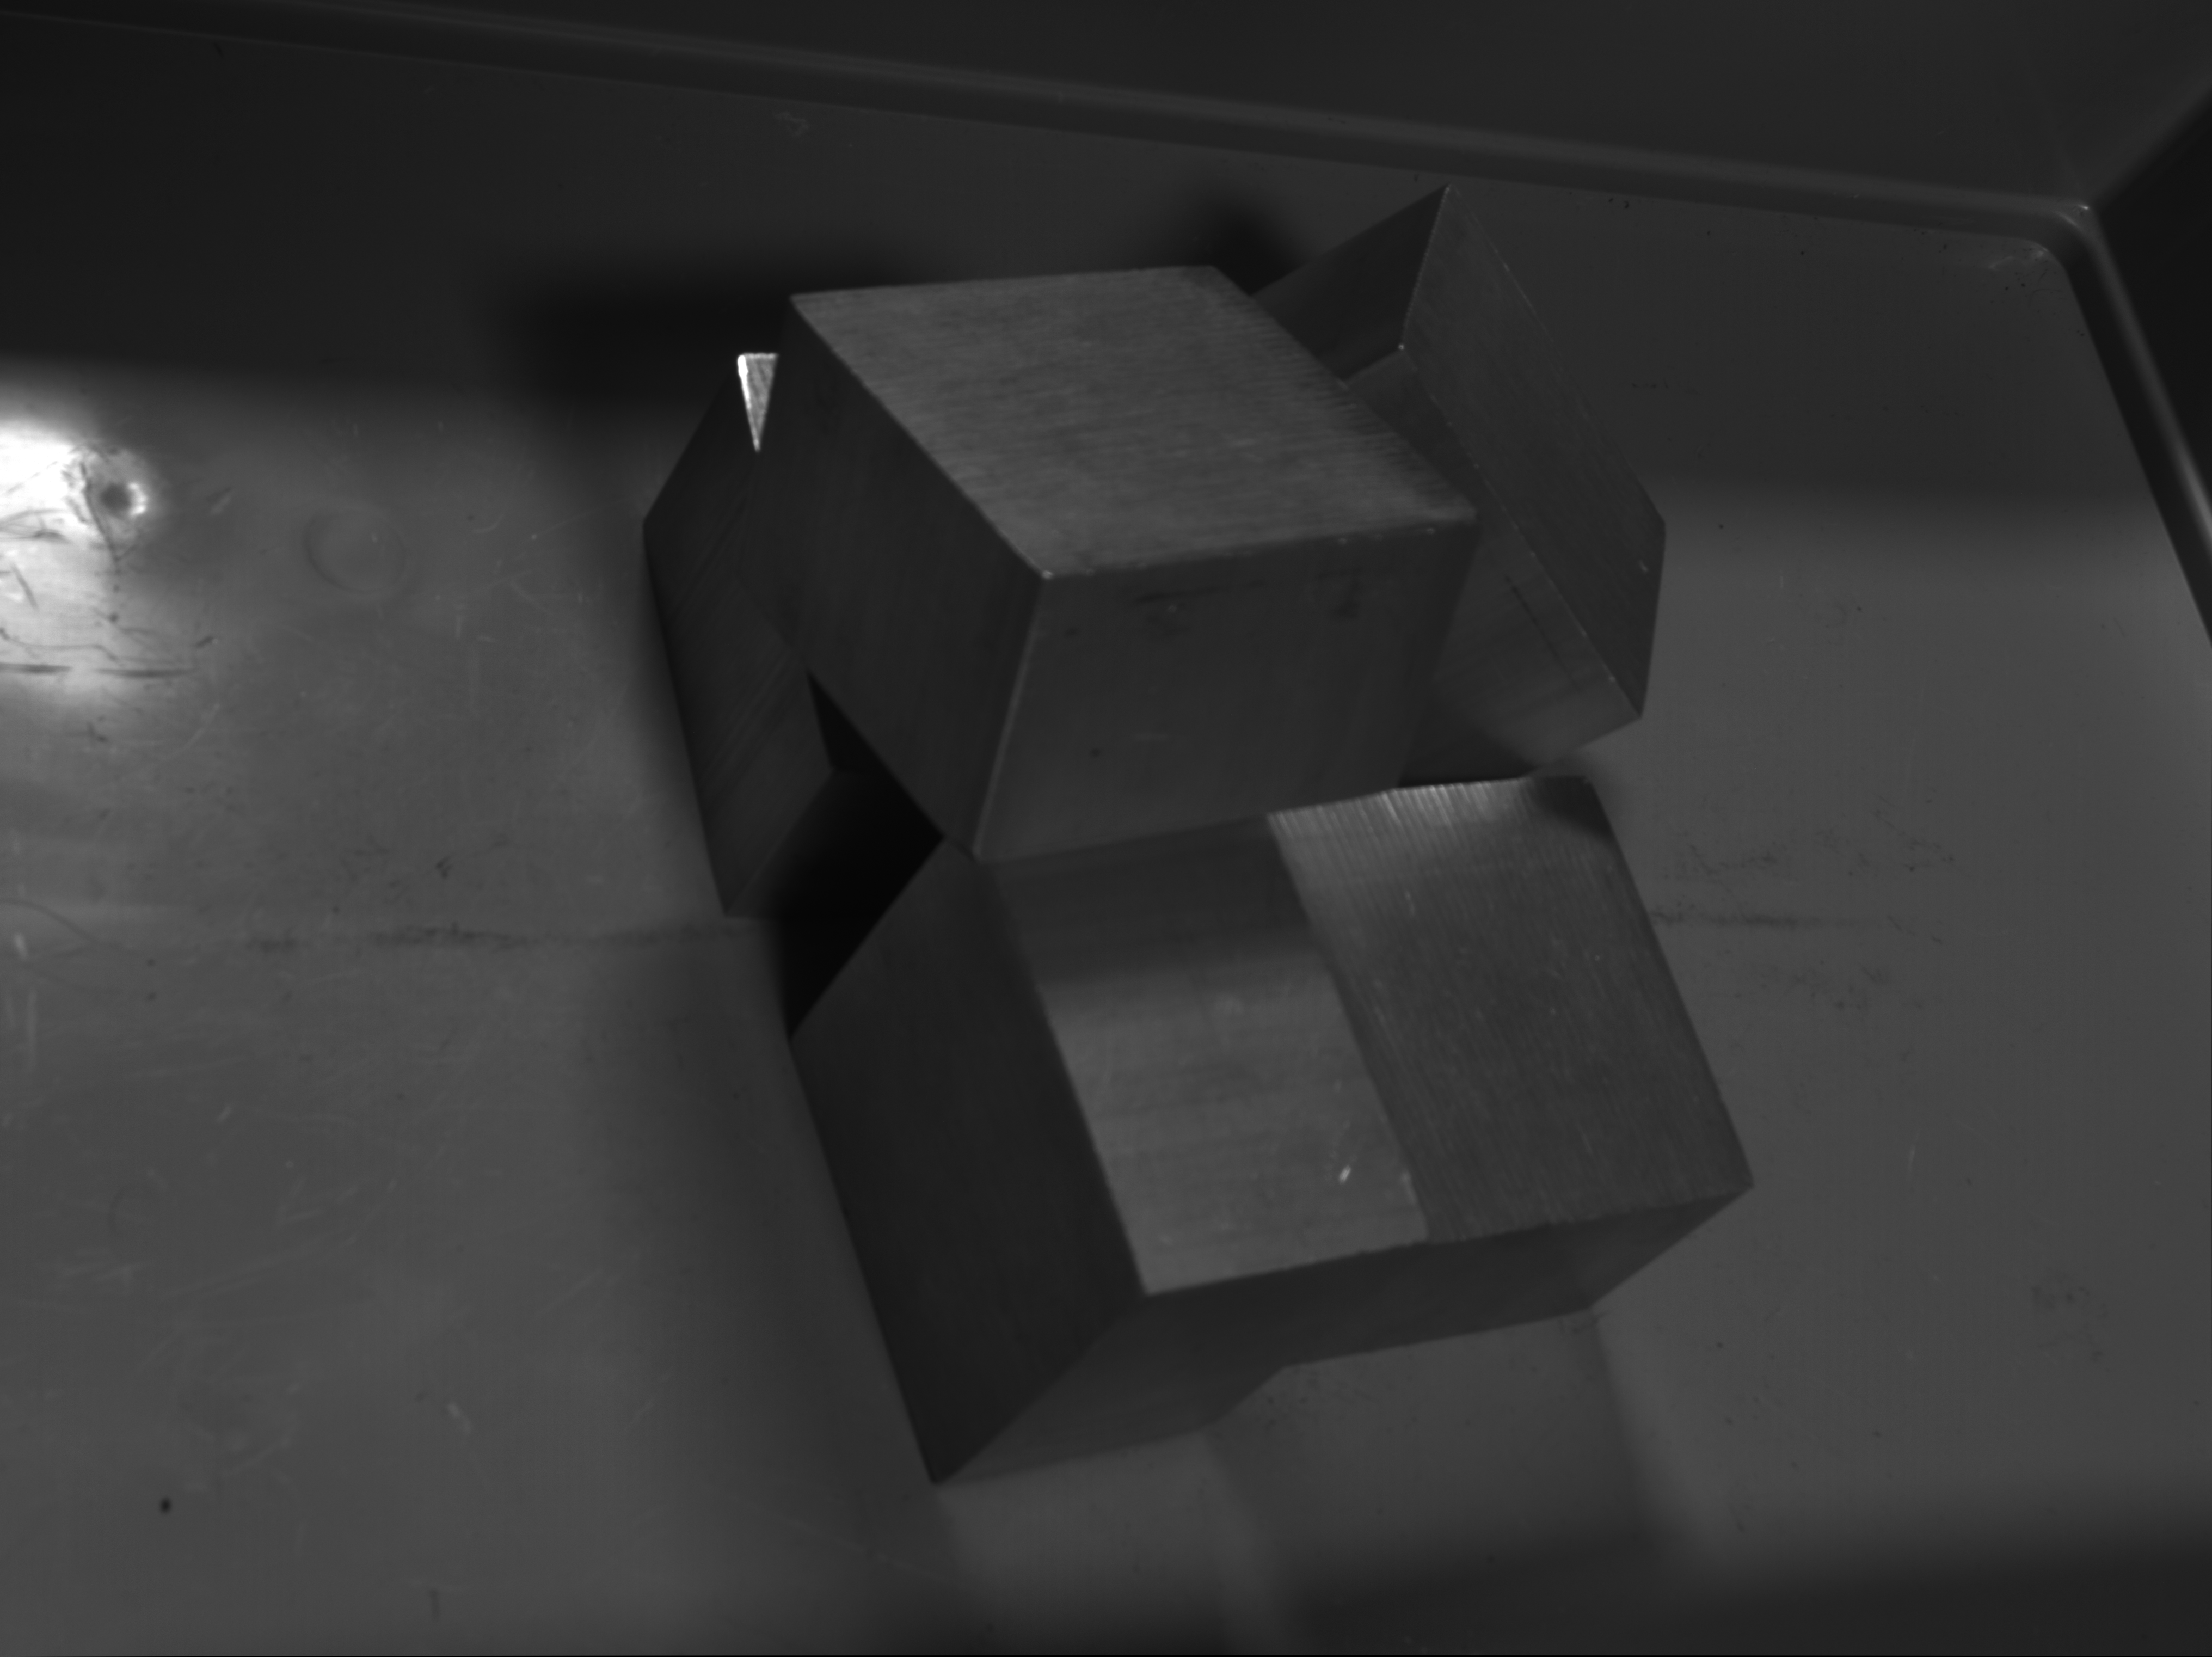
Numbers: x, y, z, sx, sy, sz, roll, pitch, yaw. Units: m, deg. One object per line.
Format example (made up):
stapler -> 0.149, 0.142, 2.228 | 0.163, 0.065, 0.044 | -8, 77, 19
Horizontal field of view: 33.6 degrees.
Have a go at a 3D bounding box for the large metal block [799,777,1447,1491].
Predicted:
large metal block -> 0.000, 0.048, 0.574 | 0.050, 0.080, 0.080 | -7, 65, -31

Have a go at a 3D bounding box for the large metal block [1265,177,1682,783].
large metal block -> 0.059, -0.058, 0.657 | 0.080, 0.050, 0.080 | 54, 26, -19

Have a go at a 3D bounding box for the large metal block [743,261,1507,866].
large metal block -> 0.001, -0.044, 0.566 | 0.080, 0.050, 0.080 | -10, 41, -32

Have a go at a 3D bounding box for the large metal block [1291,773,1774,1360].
large metal block -> 0.054, 0.041, 0.624 | 0.080, 0.050, 0.080 | -5, 64, -31

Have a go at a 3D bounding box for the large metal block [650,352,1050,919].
large metal block -> -0.025, -0.032, 0.629 | 0.080, 0.050, 0.080 | -1, 62, -29
